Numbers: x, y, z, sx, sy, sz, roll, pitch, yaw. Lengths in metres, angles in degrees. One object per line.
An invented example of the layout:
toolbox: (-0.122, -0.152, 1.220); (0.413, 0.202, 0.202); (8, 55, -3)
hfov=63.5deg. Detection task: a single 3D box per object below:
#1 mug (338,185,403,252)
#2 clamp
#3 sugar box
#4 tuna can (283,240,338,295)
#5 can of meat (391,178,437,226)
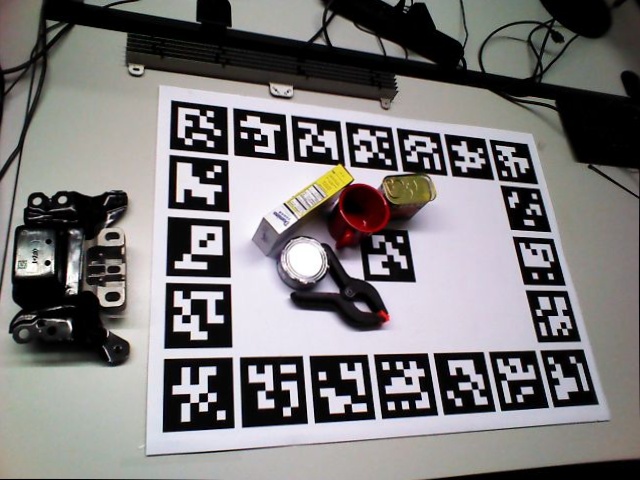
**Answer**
mug: (0.076, -0.026, 0.877); (0.093, 0.082, 0.116); (26, 65, -9)
clamp: (0.059, 0.103, 0.855); (0.165, 0.037, 0.121); (37, 57, -8)
sugar box: (-0.013, -0.043, 0.855); (0.175, 0.093, 0.045); (-38, 84, -29)
tuna can: (-0.017, 0.046, 0.844); (0.085, 0.034, 0.085); (6, 69, -17)
can of meat: (0.165, -0.066, 0.933); (0.101, 0.084, 0.057); (-6, 70, -23)
